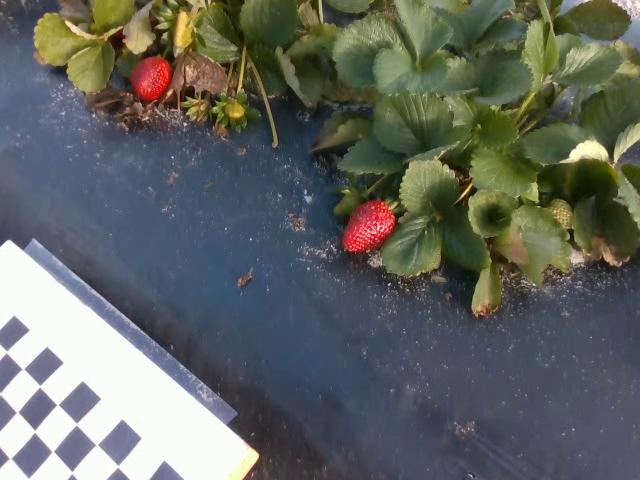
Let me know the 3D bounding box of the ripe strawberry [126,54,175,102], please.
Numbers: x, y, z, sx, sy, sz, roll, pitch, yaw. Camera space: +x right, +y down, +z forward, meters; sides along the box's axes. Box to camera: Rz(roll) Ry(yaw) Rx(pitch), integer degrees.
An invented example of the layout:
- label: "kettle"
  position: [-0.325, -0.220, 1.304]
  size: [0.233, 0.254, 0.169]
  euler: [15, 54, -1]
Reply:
- label: "ripe strawberry"
  position: [-0.108, -0.099, 0.392]
  size: [0.032, 0.025, 0.030]
  euler: [-3, 38, 8]

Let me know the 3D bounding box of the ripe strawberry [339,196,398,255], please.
- label: "ripe strawberry"
  position: [0.021, -0.006, 0.318]
  size: [0.030, 0.021, 0.036]
  euler: [31, 60, 31]
